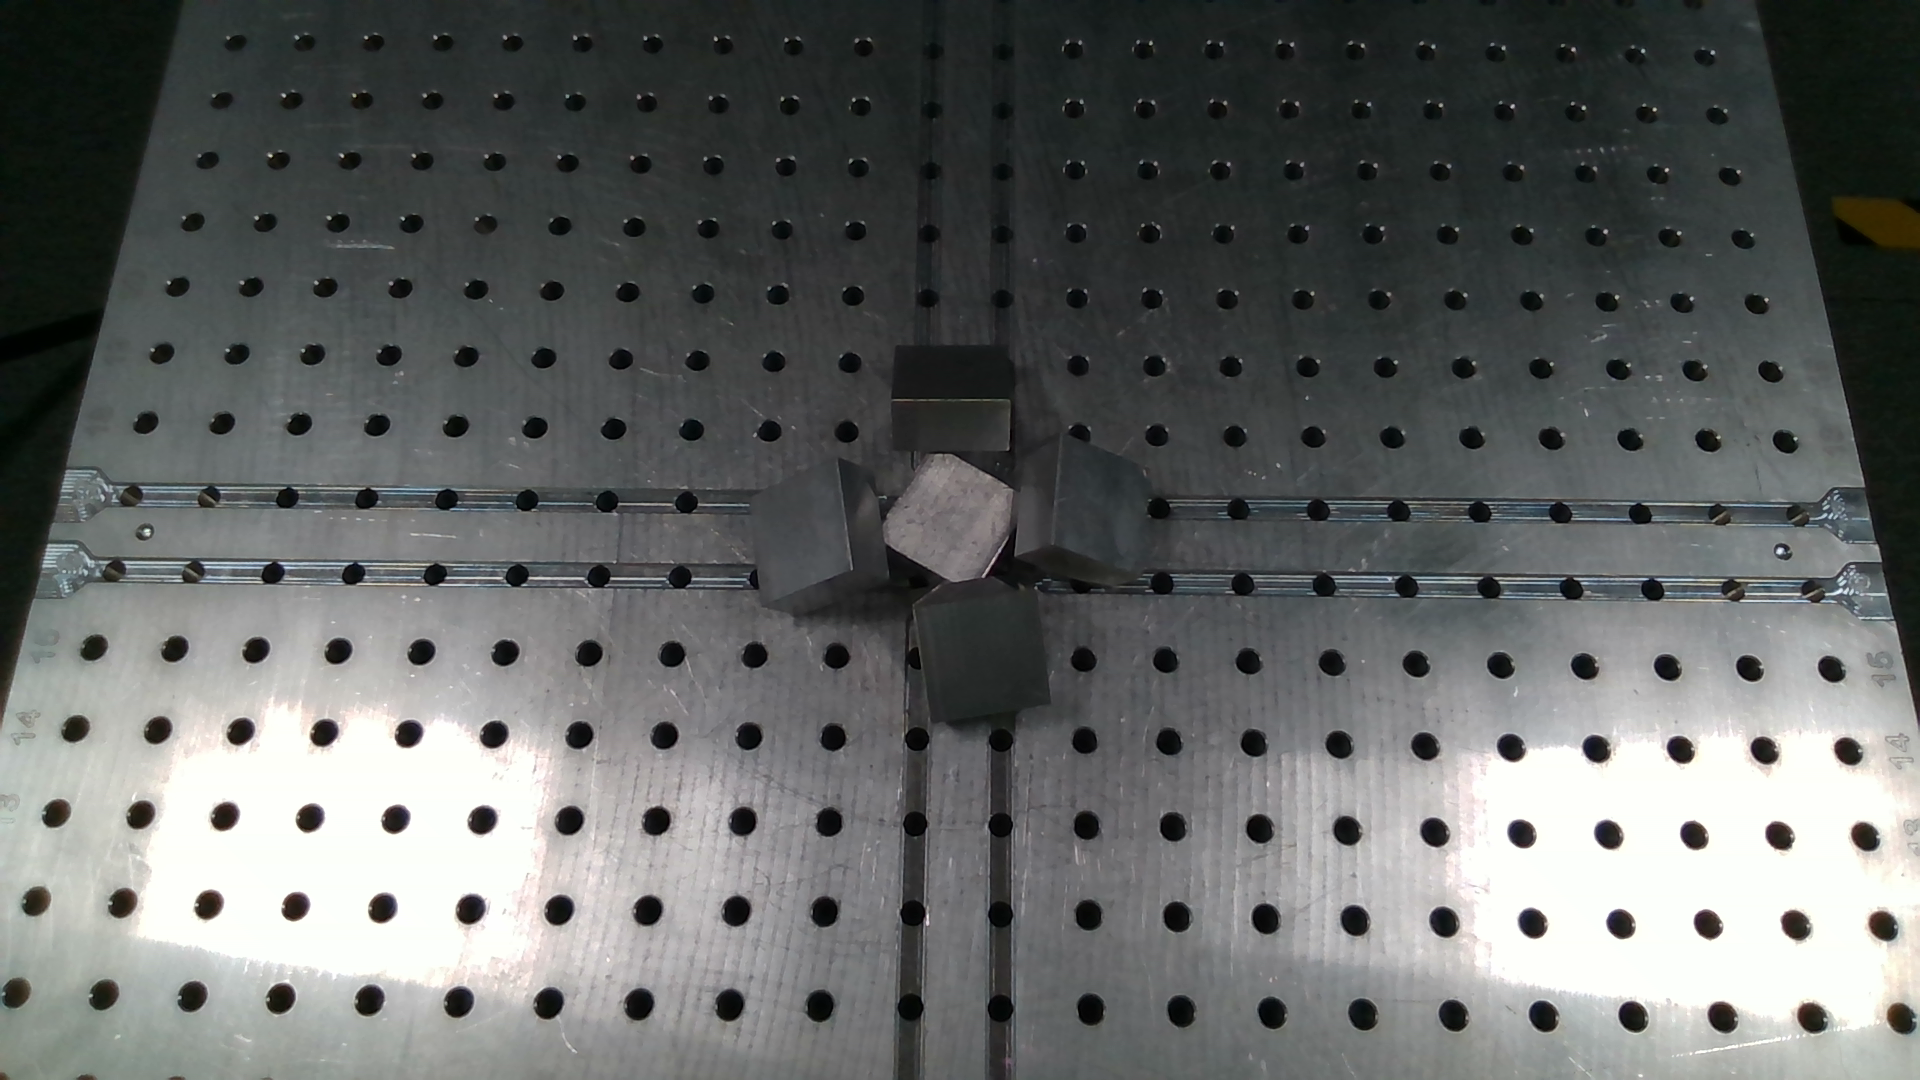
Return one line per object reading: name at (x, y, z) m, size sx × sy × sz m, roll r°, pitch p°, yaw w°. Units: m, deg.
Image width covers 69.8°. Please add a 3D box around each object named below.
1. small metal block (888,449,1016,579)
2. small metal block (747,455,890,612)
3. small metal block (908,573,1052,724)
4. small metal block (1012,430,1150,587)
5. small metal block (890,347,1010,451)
small metal block at (-0.003, -0.006, 0.592) m, size 0.050 × 0.025 × 0.050 m, roll 30°, pitch 73°, yaw 10°
small metal block at (-0.060, -0.001, 0.578) m, size 0.050 × 0.025 × 0.050 m, roll -22°, pitch 67°, yaw 30°
small metal block at (0.008, 0.043, 0.563) m, size 0.050 × 0.025 × 0.050 m, roll -9°, pitch 106°, yaw -4°
small metal block at (0.052, -0.012, 0.582) m, size 0.050 × 0.025 × 0.050 m, roll 19°, pitch 66°, yaw -32°
small metal block at (-0.004, -0.063, 0.601) m, size 0.050 × 0.025 × 0.050 m, roll 0°, pitch 35°, yaw 0°
